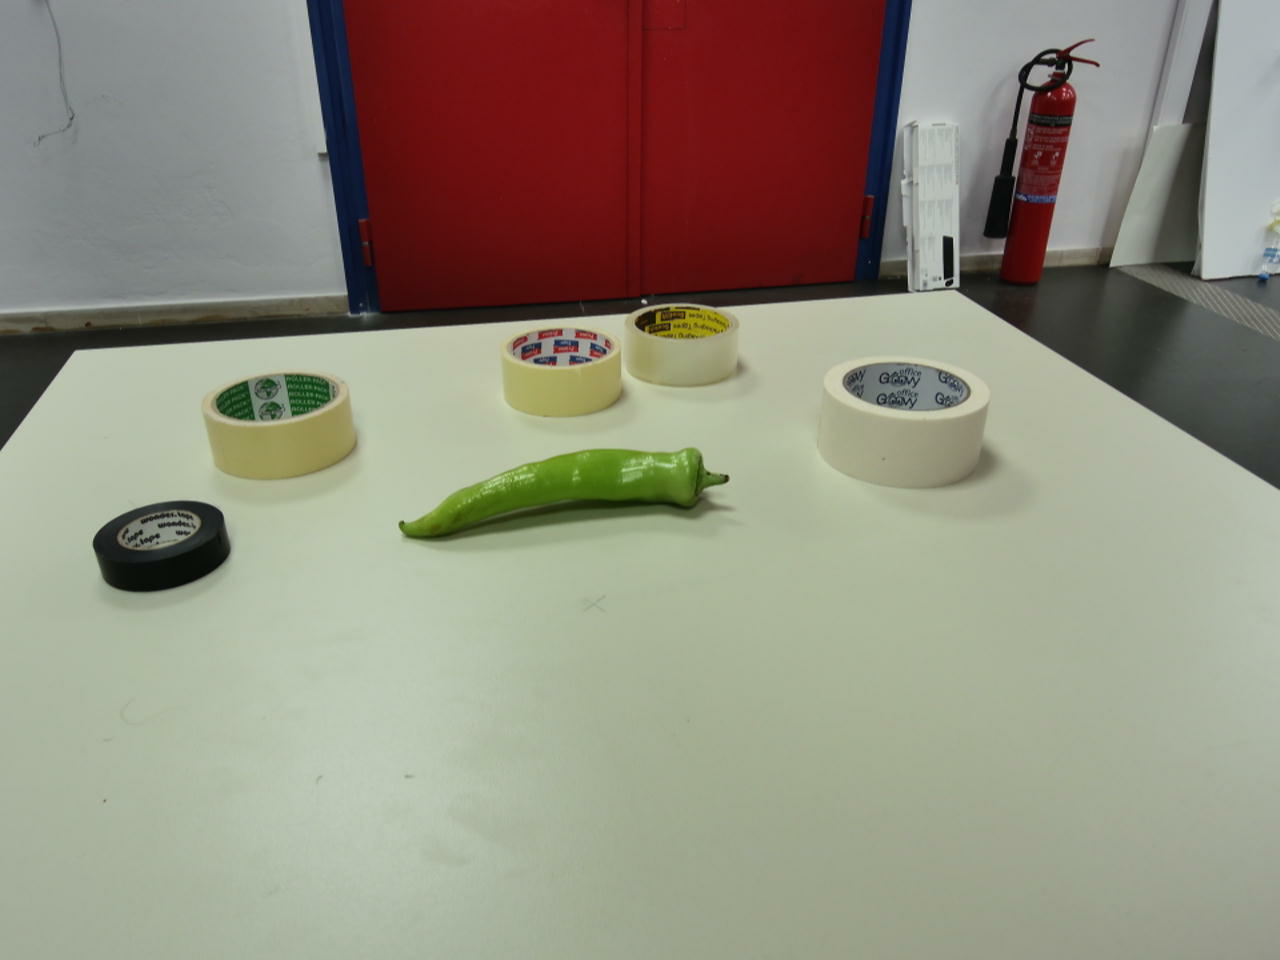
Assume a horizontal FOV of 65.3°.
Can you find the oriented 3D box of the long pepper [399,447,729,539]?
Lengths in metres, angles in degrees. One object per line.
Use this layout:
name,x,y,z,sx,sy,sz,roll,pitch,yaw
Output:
long pepper,-0.044,0.003,0.598,0.197,0.038,0.046,-5,27,-9
